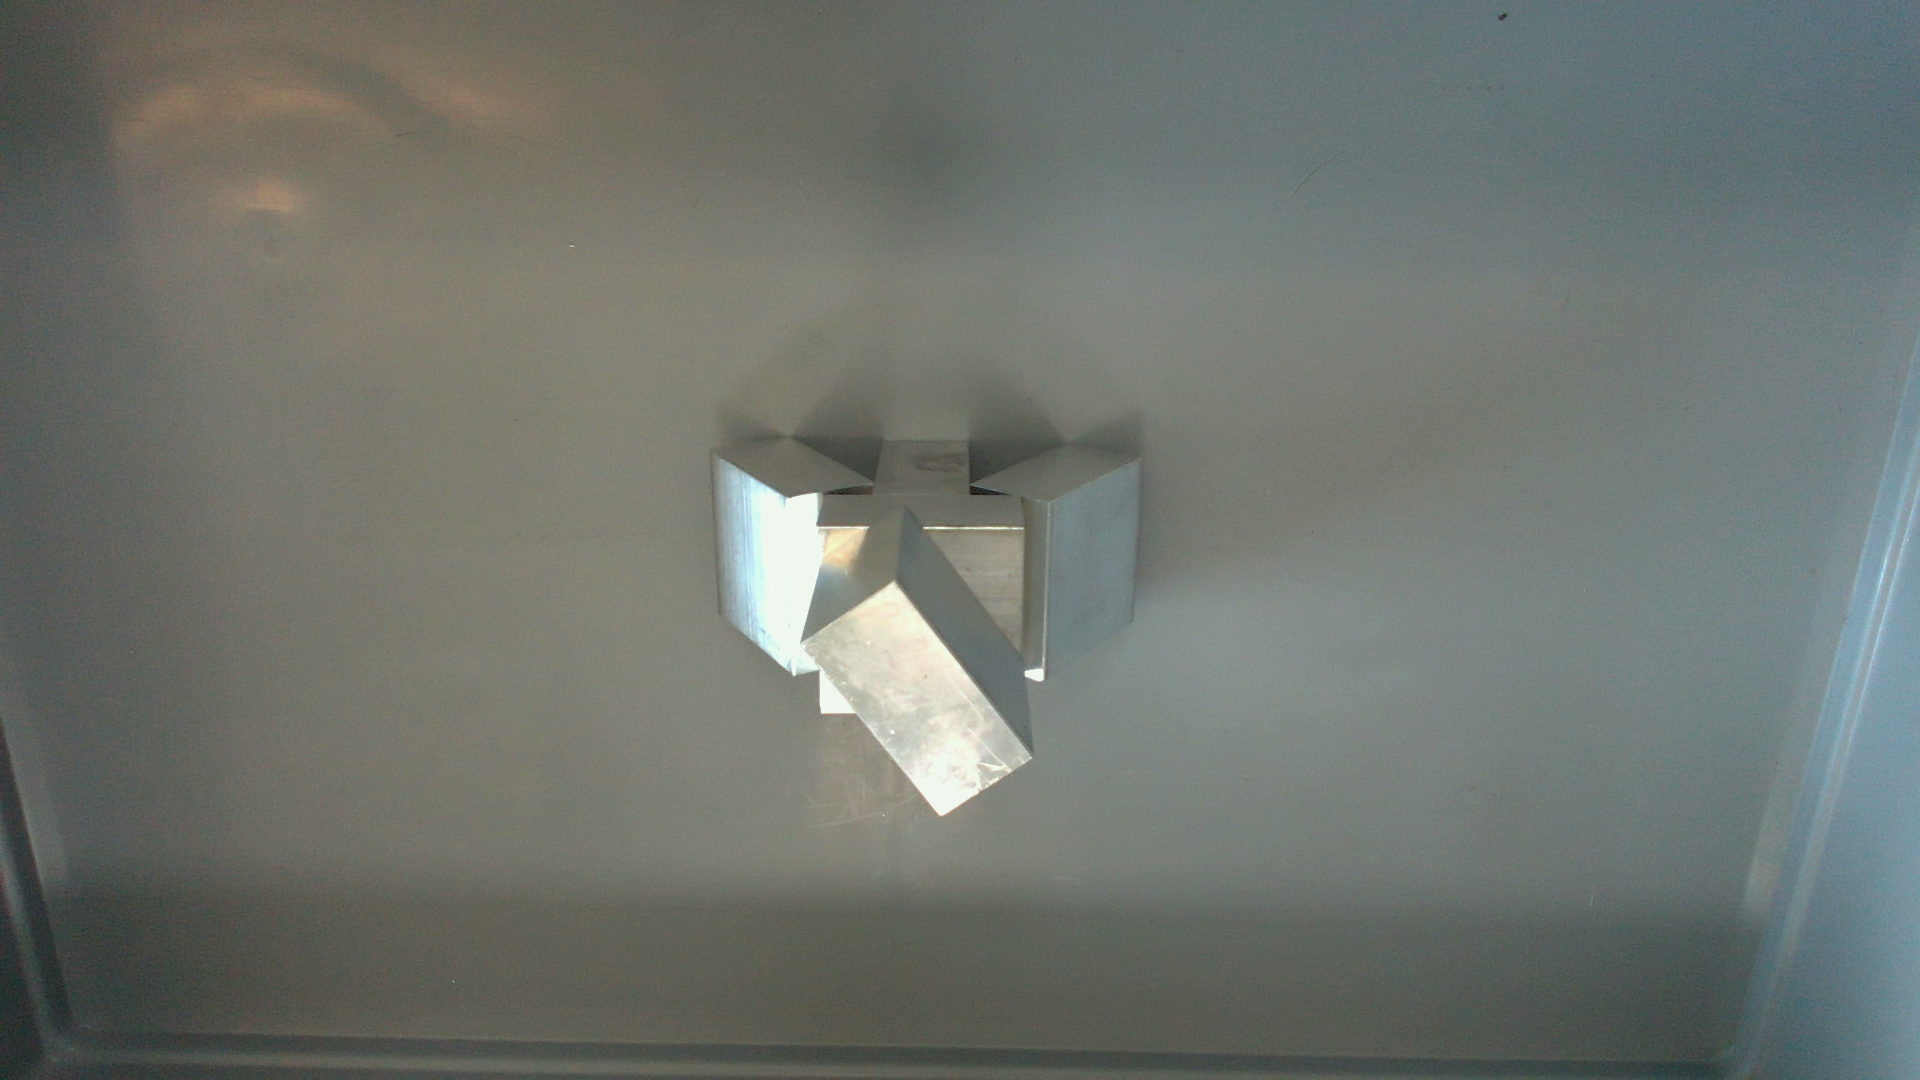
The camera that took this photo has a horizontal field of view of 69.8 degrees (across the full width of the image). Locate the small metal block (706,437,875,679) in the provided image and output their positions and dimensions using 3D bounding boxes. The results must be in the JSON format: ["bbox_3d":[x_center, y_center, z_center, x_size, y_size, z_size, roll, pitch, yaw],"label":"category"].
[{"bbox_3d":[-0.046,0.003,0.377,0.025,0.050,0.050,-12,114,-31],"label":"small metal block"}]

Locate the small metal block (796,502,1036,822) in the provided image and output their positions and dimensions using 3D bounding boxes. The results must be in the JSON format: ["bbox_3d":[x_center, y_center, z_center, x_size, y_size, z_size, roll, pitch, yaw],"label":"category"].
[{"bbox_3d":[-0.008,0.026,0.308,0.025,0.050,0.050,-33,107,12],"label":"small metal block"}]

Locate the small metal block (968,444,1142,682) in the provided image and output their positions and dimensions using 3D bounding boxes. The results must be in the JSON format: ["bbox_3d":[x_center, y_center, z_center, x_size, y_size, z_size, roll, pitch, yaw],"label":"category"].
[{"bbox_3d":[0.026,0.004,0.379,0.025,0.050,0.050,14,114,32],"label":"small metal block"}]

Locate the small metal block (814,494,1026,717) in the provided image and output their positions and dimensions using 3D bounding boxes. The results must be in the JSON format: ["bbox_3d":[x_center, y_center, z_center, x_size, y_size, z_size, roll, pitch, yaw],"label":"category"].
[{"bbox_3d":[-0.010,0.016,0.344,0.050,0.025,0.050,1,110,0],"label":"small metal block"}]

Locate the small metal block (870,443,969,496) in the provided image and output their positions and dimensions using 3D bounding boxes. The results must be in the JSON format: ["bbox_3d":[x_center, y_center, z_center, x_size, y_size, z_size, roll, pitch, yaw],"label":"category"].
[{"bbox_3d":[-0.010,0.004,0.380,0.025,0.050,0.050,1,110,0],"label":"small metal block"}]
